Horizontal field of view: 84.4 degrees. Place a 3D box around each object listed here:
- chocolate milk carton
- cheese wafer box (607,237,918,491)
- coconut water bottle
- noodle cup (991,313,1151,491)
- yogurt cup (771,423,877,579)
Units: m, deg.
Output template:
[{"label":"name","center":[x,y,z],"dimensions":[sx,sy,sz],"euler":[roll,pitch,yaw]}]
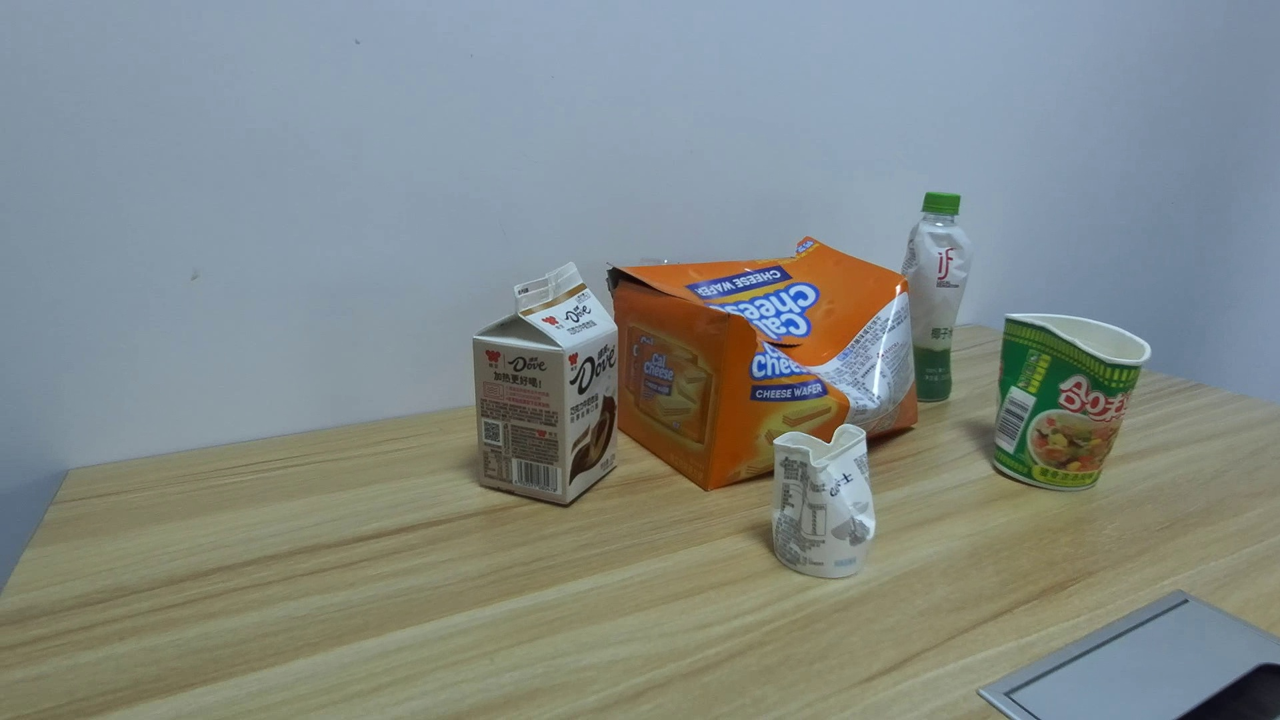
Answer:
[{"label":"chocolate milk carton","center":[-0.062,0.012,0.487],"dimensions":[0.074,0.148,0.075],"euler":[9,18,24]},{"label":"cheese wafer box","center":[0.110,-0.009,0.565],"dimensions":[0.220,0.145,0.190],"euler":[-10,19,-30]},{"label":"coconut water bottle","center":[0.270,-0.059,0.658],"dimensions":[0.067,0.187,0.067],"euler":[1,16,0]},{"label":"noodle cup","center":[0.297,0.029,0.501],"dimensions":[0.070,0.111,0.115],"euler":[5,19,15]},{"label":"yogurt cup","center":[0.104,0.078,0.403],"dimensions":[0.055,0.072,0.055],"euler":[-7,19,-21]}]
